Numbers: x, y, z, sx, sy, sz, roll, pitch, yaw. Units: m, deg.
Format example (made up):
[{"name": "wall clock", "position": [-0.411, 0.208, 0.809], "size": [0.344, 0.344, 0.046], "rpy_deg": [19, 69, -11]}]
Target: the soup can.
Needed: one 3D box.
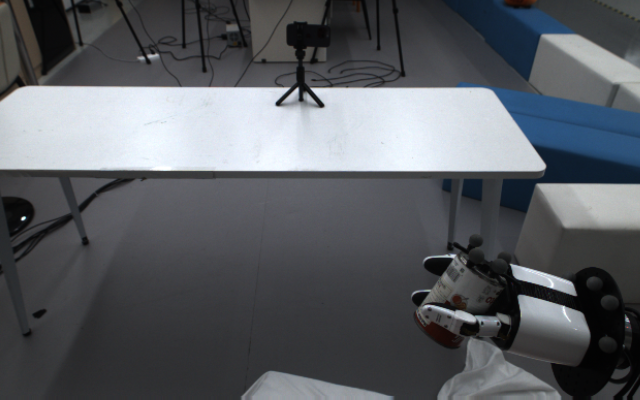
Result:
[{"name": "soup can", "position": [0.171, 0.121, 0.593], "size": [0.067, 0.101, 0.067], "rpy_deg": [27, 18, -10]}]
